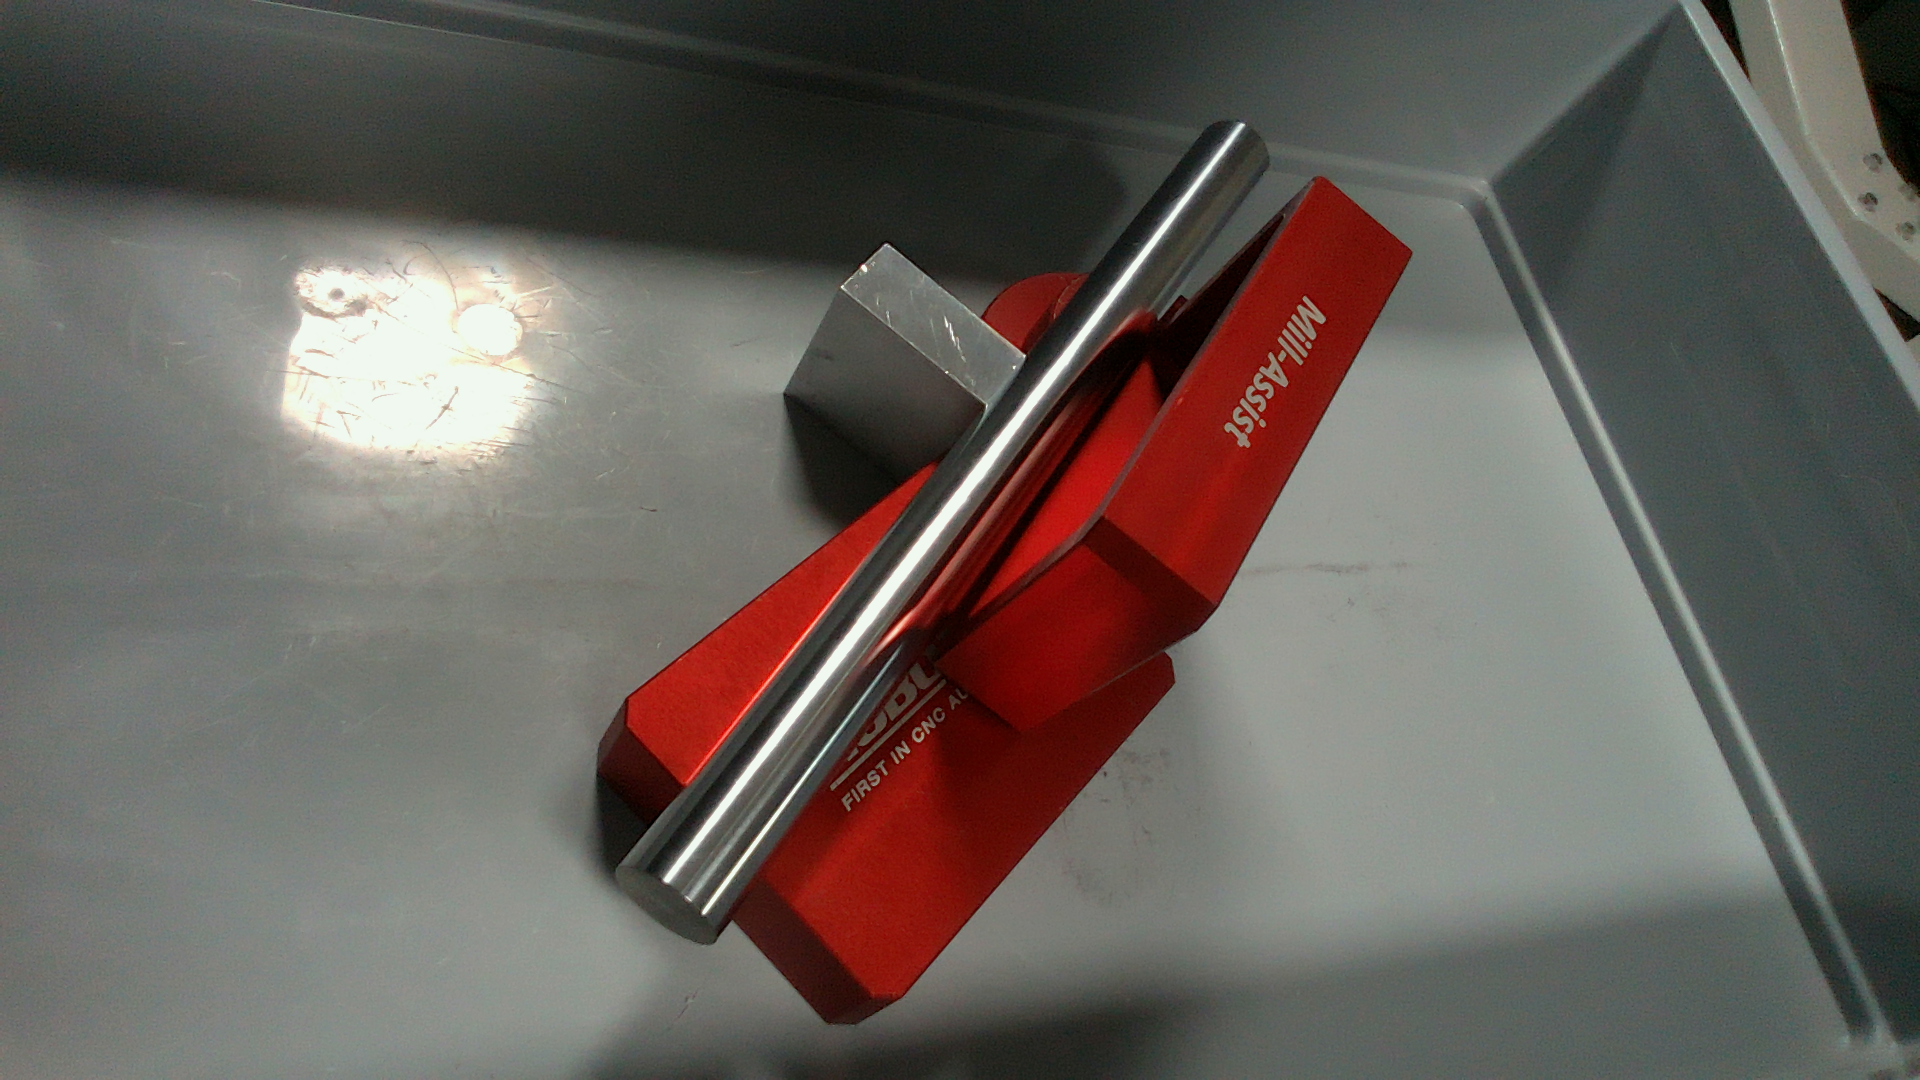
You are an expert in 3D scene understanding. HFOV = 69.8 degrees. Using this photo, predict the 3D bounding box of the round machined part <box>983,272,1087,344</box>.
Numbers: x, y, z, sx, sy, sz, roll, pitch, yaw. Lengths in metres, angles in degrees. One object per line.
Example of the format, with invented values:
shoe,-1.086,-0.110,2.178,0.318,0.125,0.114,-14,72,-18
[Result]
round machined part,0.049,-0.045,0.431,0.098,0.042,0.098,14,56,-21

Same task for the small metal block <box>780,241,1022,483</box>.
small metal block,-0.017,-0.047,0.392,0.050,0.050,0.025,39,51,-2

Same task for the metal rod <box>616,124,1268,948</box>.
metal rod,0.015,-0.025,0.361,0.025,0.025,0.301,38,55,-2

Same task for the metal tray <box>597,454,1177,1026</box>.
metal tray,-0.013,0.044,0.351,0.090,0.030,0.130,46,51,4

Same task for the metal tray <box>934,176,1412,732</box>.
metal tray,0.052,-0.021,0.339,0.030,0.090,0.130,39,57,-5
